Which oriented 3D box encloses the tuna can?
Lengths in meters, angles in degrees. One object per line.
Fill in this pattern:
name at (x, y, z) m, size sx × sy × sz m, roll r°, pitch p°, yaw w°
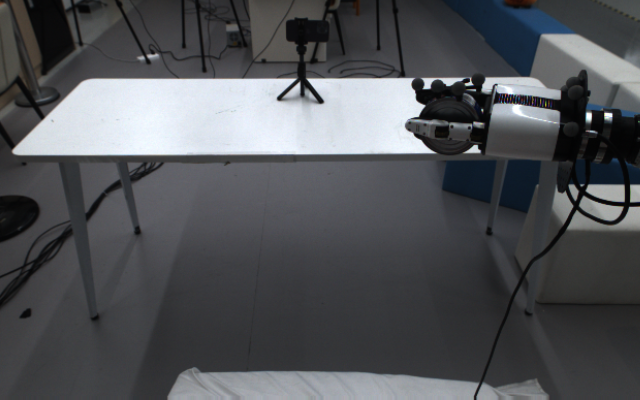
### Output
tuna can at (0.185, -0.110, 0.679) m, size 0.085 × 0.085 × 0.034 m, roll 15°, pitch 35°, yaw 17°
